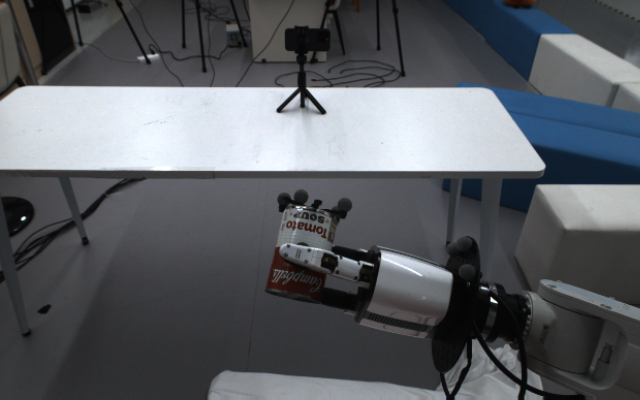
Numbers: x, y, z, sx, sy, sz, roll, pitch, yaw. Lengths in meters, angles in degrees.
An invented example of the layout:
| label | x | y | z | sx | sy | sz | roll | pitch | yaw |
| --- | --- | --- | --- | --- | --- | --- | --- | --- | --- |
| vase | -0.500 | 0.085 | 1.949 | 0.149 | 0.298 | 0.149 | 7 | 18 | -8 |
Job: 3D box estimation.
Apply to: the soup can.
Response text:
| label | x | y | z | sx | sy | sz | roll | pitch | yaw |
| --- | --- | --- | --- | --- | --- | --- | --- | --- | --- |
| soup can | -0.019 | 0.064 | 0.569 | 0.067 | 0.067 | 0.101 | 9 | 74 | 9 |
